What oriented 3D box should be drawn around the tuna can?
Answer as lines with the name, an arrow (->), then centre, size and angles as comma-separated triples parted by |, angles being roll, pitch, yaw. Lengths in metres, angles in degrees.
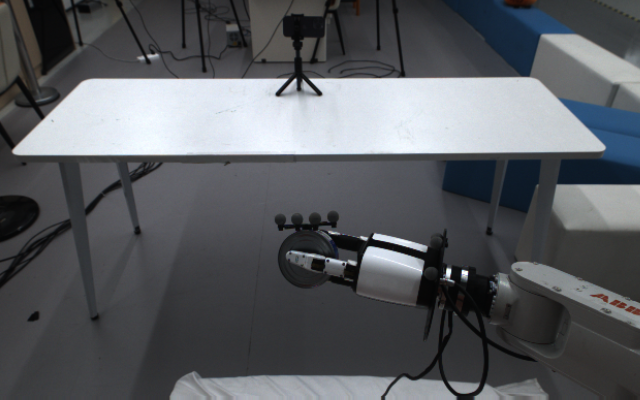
tuna can -> -0.014, 0.089, 0.707 | 0.085, 0.085, 0.034 | 10, 3, 11
